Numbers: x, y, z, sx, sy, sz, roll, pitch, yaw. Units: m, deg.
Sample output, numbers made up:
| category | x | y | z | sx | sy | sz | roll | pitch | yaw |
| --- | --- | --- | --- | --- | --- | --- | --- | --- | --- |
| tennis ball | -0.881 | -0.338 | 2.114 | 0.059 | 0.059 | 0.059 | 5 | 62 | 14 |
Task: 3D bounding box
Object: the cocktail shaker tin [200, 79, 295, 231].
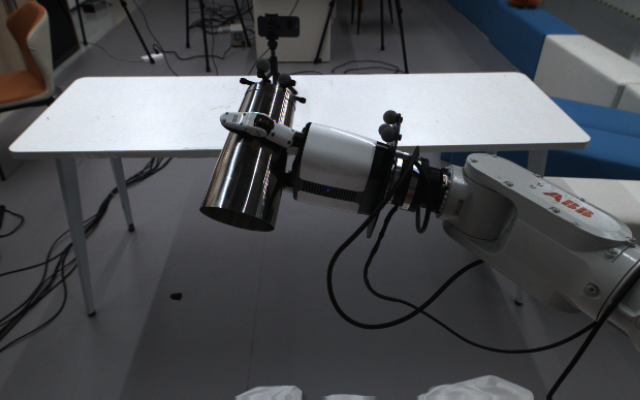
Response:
| category | x | y | z | sx | sy | sz | roll | pitch | yaw |
| --- | --- | --- | --- | --- | --- | --- | --- | --- | --- |
| cocktail shaker tin | -0.082 | -0.054 | 0.602 | 0.093 | 0.093 | 0.170 | 10 | 73 | 12 |
